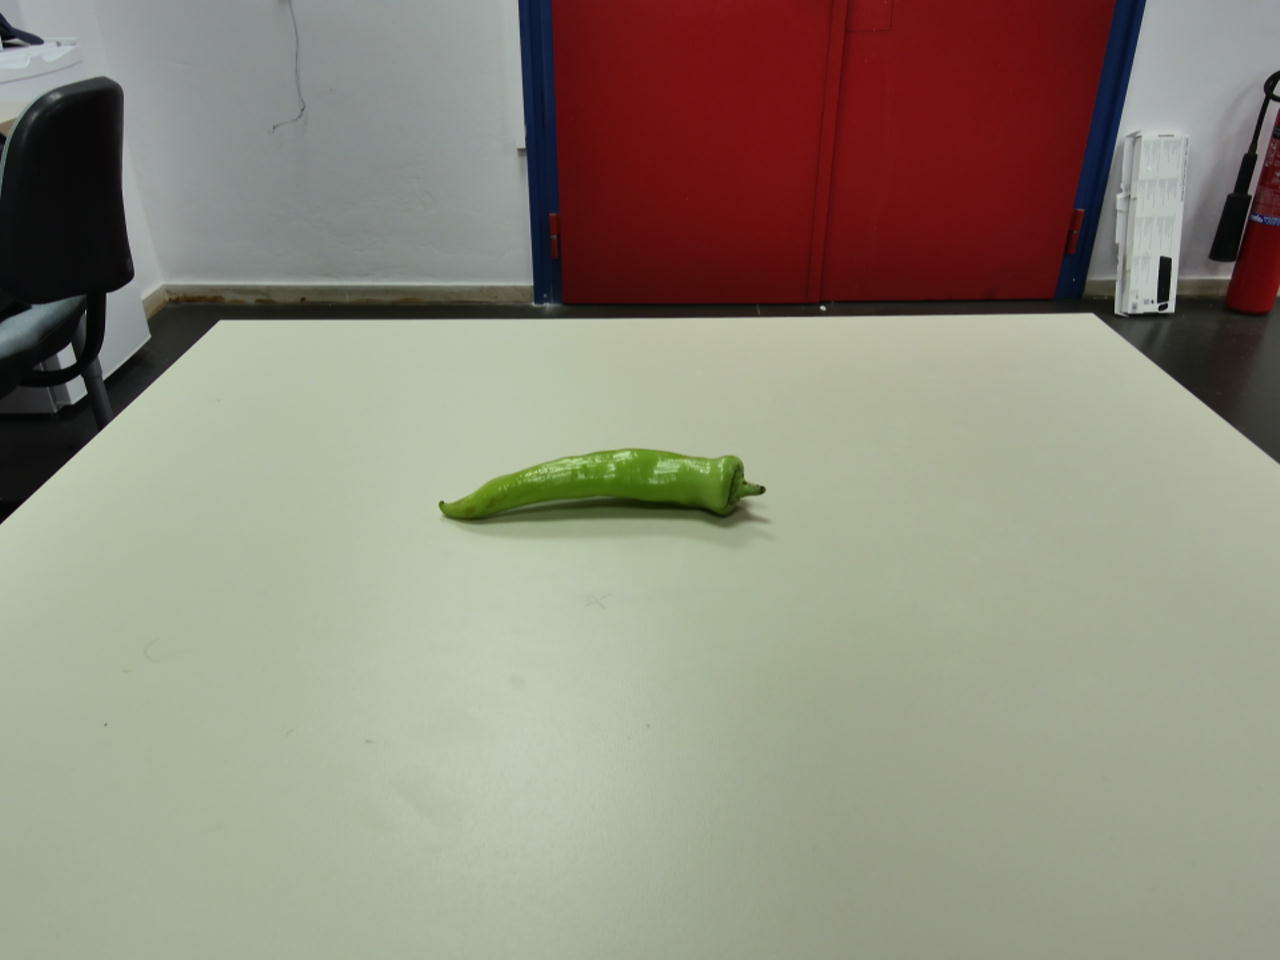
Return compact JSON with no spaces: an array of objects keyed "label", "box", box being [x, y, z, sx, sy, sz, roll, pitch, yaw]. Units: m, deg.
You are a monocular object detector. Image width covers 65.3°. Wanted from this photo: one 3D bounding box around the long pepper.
[{"label":"long pepper","box":[-0.023,0.001,0.606,0.197,0.038,0.046,1,27,2]}]
